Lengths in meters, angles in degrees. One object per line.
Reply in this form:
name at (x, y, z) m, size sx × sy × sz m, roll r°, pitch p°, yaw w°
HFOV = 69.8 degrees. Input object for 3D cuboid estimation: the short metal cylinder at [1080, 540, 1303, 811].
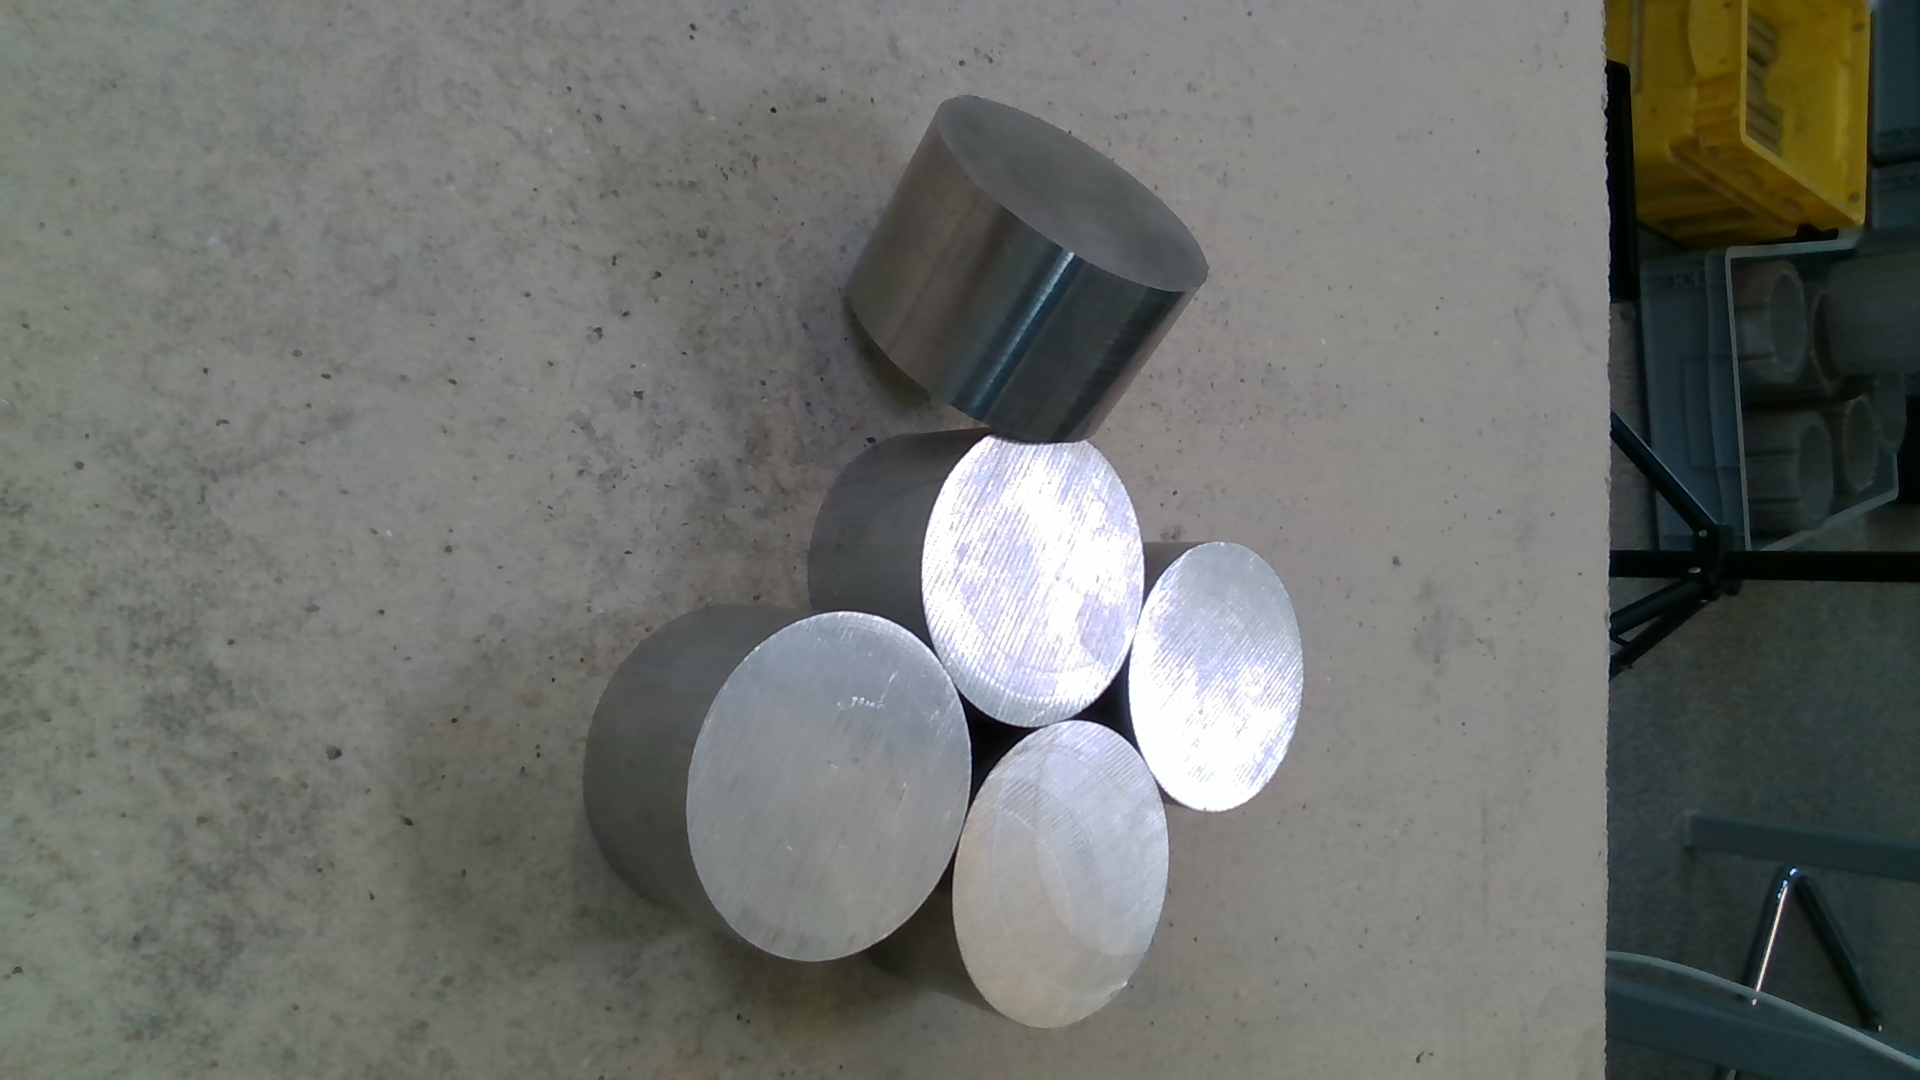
short metal cylinder at (0.061, 0.040, 0.427) m, size 0.080 × 0.050 × 0.080 m, roll 0°, pitch 90°, yaw -40°

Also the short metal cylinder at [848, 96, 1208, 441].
short metal cylinder at (0.017, -0.072, 0.363) m, size 0.080 × 0.050 × 0.080 m, roll 23°, pitch 34°, yaw -17°

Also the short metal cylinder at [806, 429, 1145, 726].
short metal cylinder at (0.005, 0.009, 0.379) m, size 0.080 × 0.050 × 0.080 m, roll 0°, pitch 90°, yaw -40°

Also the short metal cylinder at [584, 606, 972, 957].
short metal cylinder at (-0.044, 0.056, 0.338) m, size 0.080 × 0.050 × 0.080 m, roll 0°, pitch 90°, yaw -40°

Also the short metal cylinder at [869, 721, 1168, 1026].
short metal cylinder at (0.013, 0.089, 0.386) m, size 0.080 × 0.050 × 0.080 m, roll 0°, pitch 90°, yaw -40°
